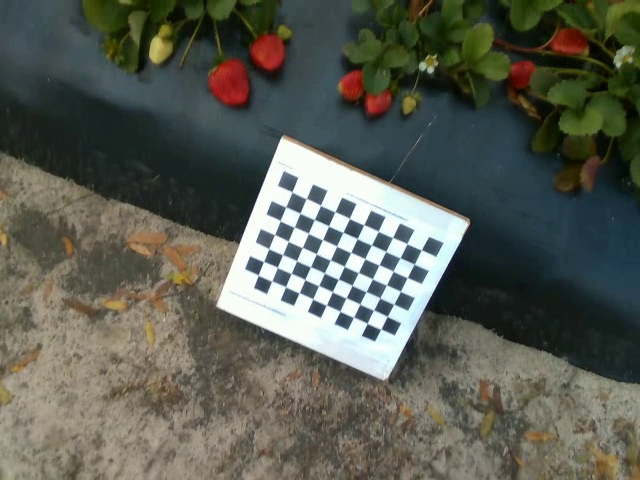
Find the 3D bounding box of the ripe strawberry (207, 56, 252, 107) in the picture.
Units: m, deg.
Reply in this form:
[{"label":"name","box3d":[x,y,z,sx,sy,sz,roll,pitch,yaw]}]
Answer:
[{"label":"ripe strawberry","box3d":[-0.129,-0.200,0.554,0.058,0.065,0.043,-34,-5,24]}]

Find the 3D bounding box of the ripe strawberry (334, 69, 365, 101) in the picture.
[{"label":"ripe strawberry","box3d":[0.039,-0.200,0.555,0.053,0.047,0.039,-11,28,-21]}]

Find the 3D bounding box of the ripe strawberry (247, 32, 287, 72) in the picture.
[{"label":"ripe strawberry","box3d":[-0.078,-0.241,0.558,0.050,0.060,0.051,-40,-39,26]}]

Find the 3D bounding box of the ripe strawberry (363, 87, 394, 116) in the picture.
[{"label":"ripe strawberry","box3d":[0.075,-0.176,0.546,0.043,0.049,0.041,19,-40,2]}]
